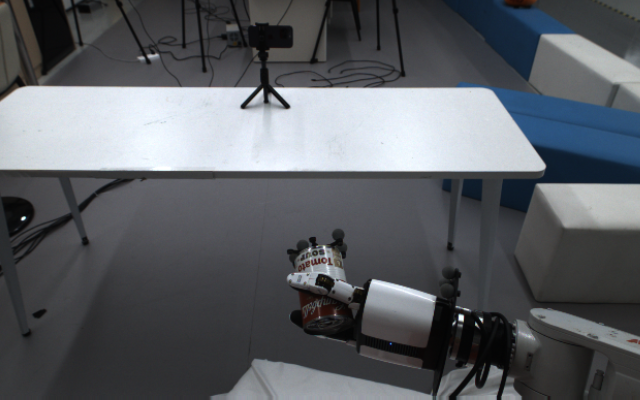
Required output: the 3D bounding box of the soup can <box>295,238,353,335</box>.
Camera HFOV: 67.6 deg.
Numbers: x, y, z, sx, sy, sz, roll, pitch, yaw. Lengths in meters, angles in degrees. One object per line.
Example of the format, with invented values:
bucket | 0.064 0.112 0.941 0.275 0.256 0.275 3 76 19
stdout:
soup can | 0.007 0.121 0.646 0.067 0.067 0.101 -5 57 -10
